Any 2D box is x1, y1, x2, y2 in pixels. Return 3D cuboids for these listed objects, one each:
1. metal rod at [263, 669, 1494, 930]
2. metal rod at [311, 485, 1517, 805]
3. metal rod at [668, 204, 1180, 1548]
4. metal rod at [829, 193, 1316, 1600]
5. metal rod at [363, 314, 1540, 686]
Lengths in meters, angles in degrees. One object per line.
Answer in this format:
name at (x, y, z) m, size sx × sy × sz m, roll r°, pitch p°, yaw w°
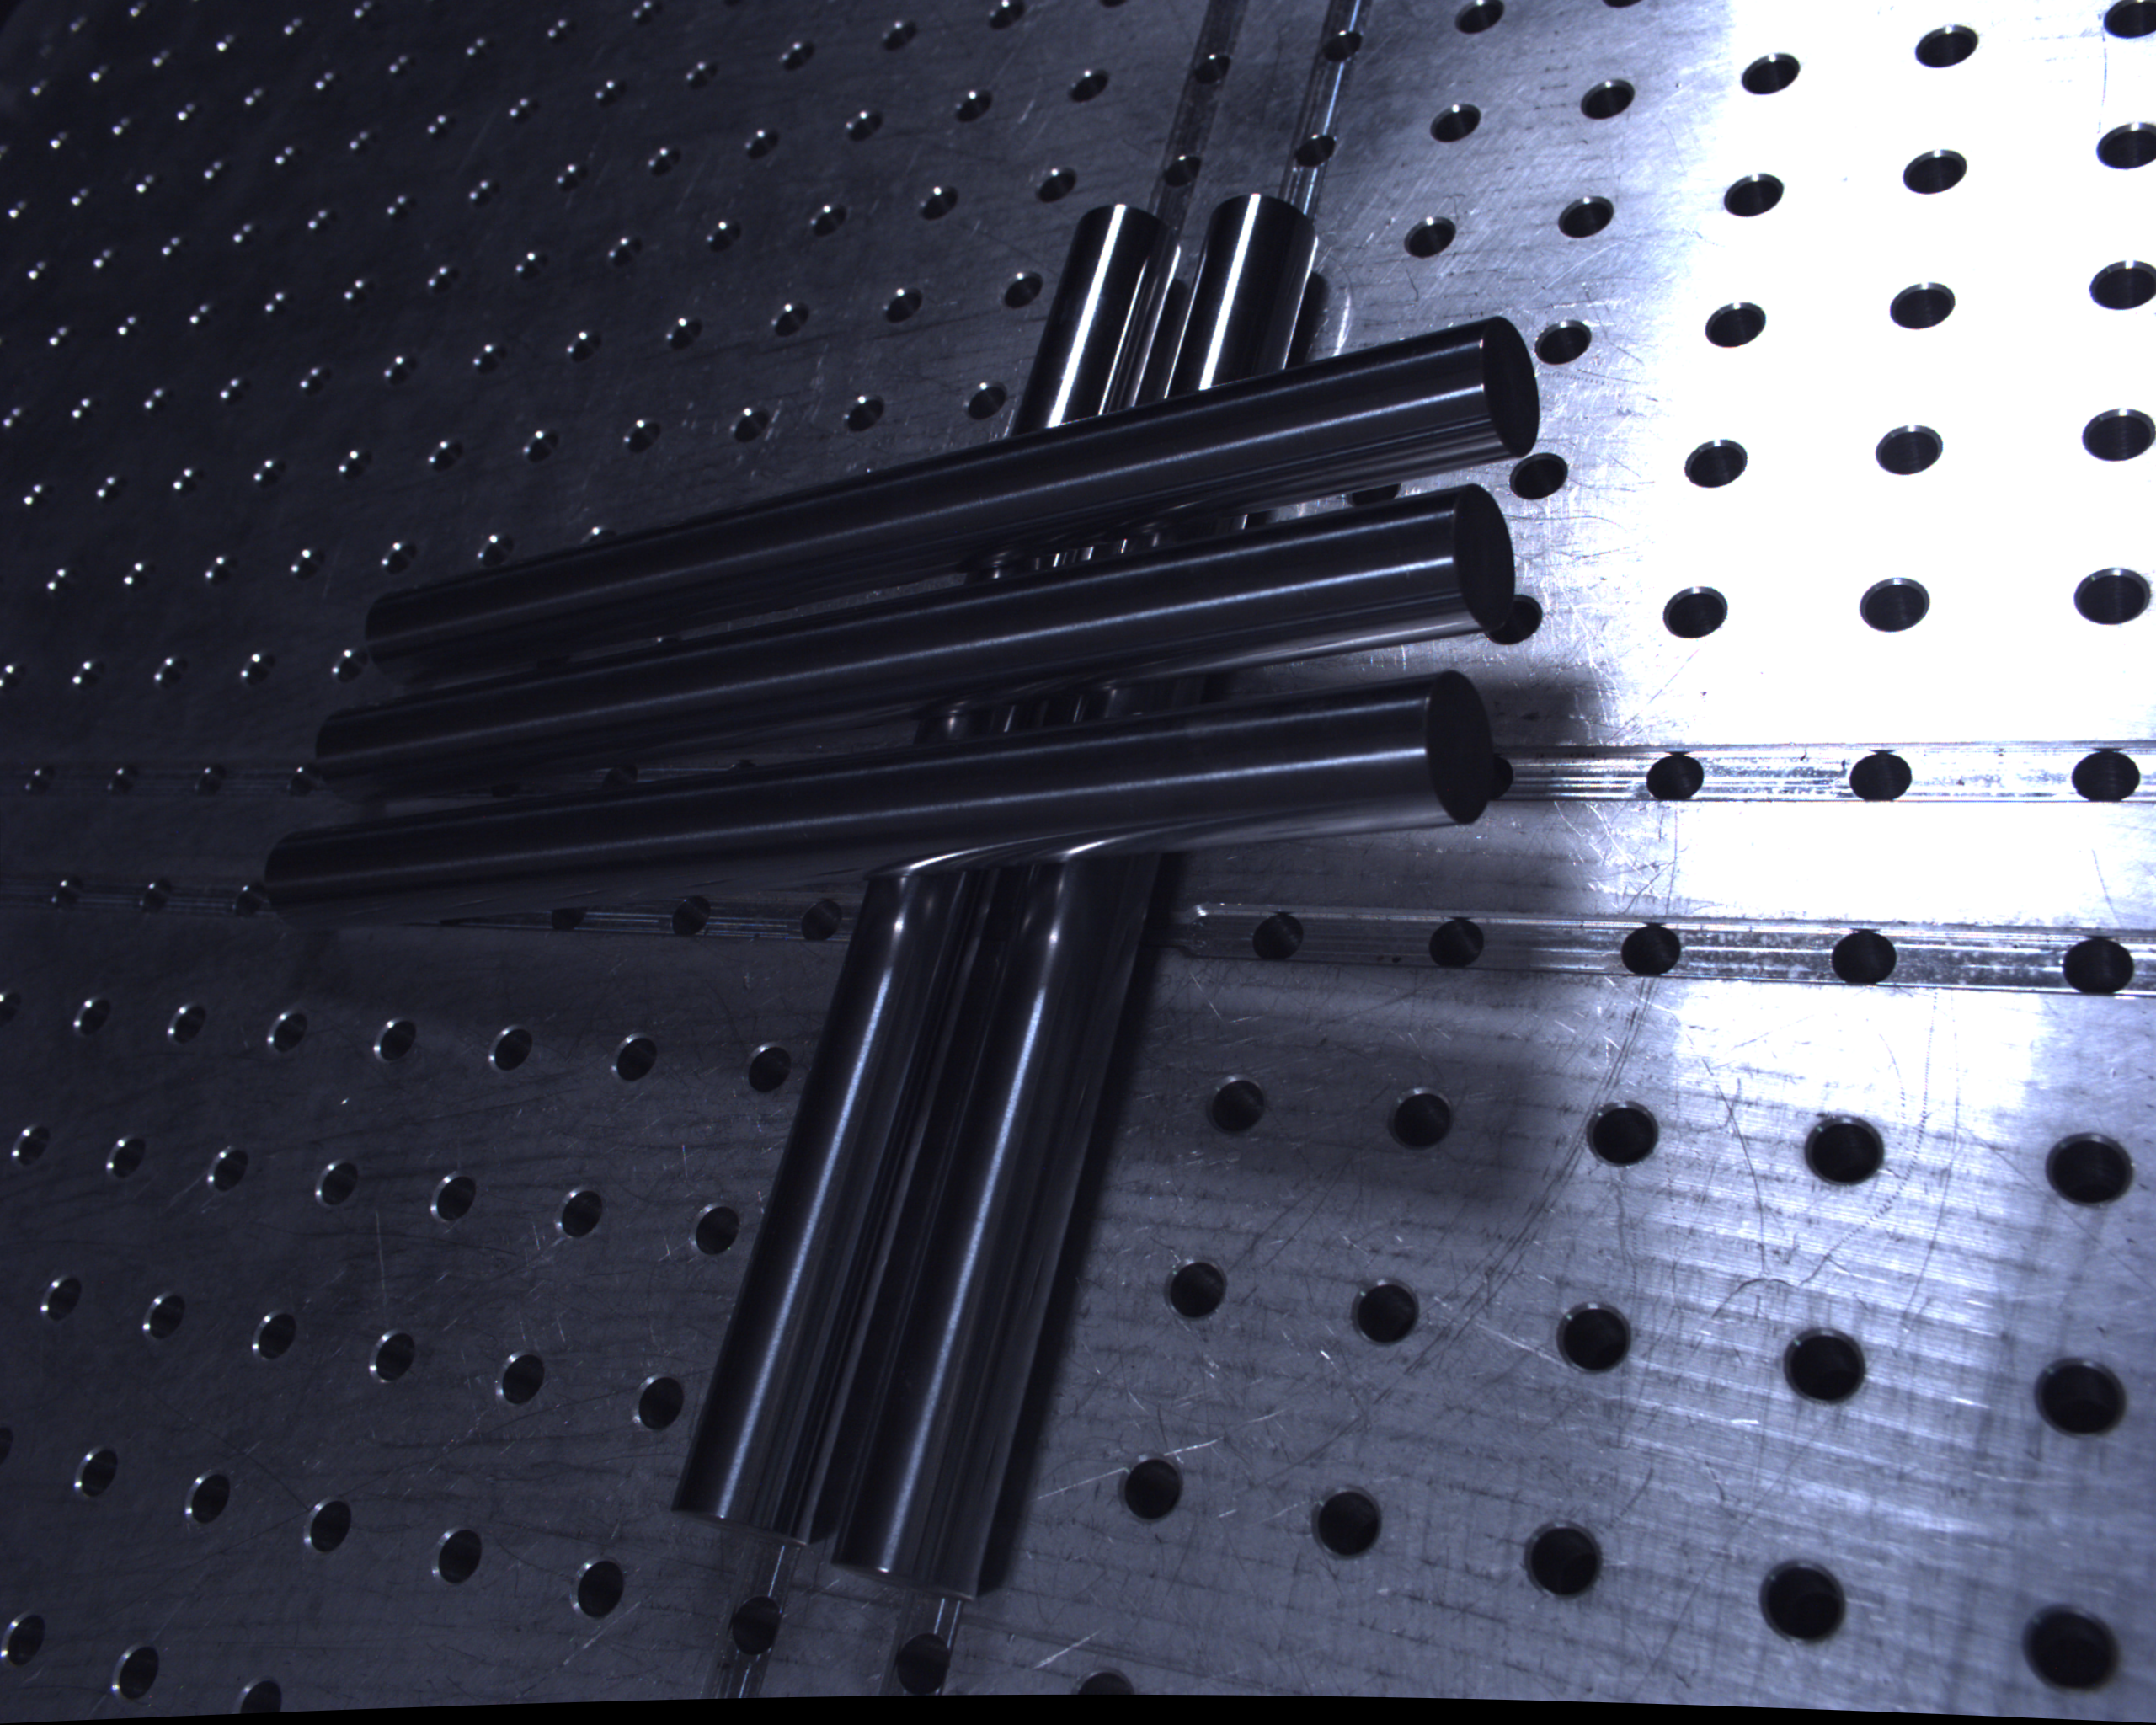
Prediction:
metal rod at (-0.062, -0.007, 0.416) m, size 0.300 × 0.025 × 0.025 m, roll -5°, pitch 59°, yaw 35°
metal rod at (-0.055, -0.039, 0.433) m, size 0.300 × 0.025 × 0.025 m, roll -6°, pitch 59°, yaw 34°
metal rod at (-0.024, -0.014, 0.428) m, size 0.025 × 0.025 × 0.300 m, roll 1°, pitch 62°, yaw 28°
metal rod at (0.006, -0.011, 0.411) m, size 0.025 × 0.025 × 0.300 m, roll 1°, pitch 62°, yaw 28°
metal rod at (-0.048, -0.070, 0.448) m, size 0.300 × 0.025 × 0.025 m, roll -6°, pitch 59°, yaw 34°
